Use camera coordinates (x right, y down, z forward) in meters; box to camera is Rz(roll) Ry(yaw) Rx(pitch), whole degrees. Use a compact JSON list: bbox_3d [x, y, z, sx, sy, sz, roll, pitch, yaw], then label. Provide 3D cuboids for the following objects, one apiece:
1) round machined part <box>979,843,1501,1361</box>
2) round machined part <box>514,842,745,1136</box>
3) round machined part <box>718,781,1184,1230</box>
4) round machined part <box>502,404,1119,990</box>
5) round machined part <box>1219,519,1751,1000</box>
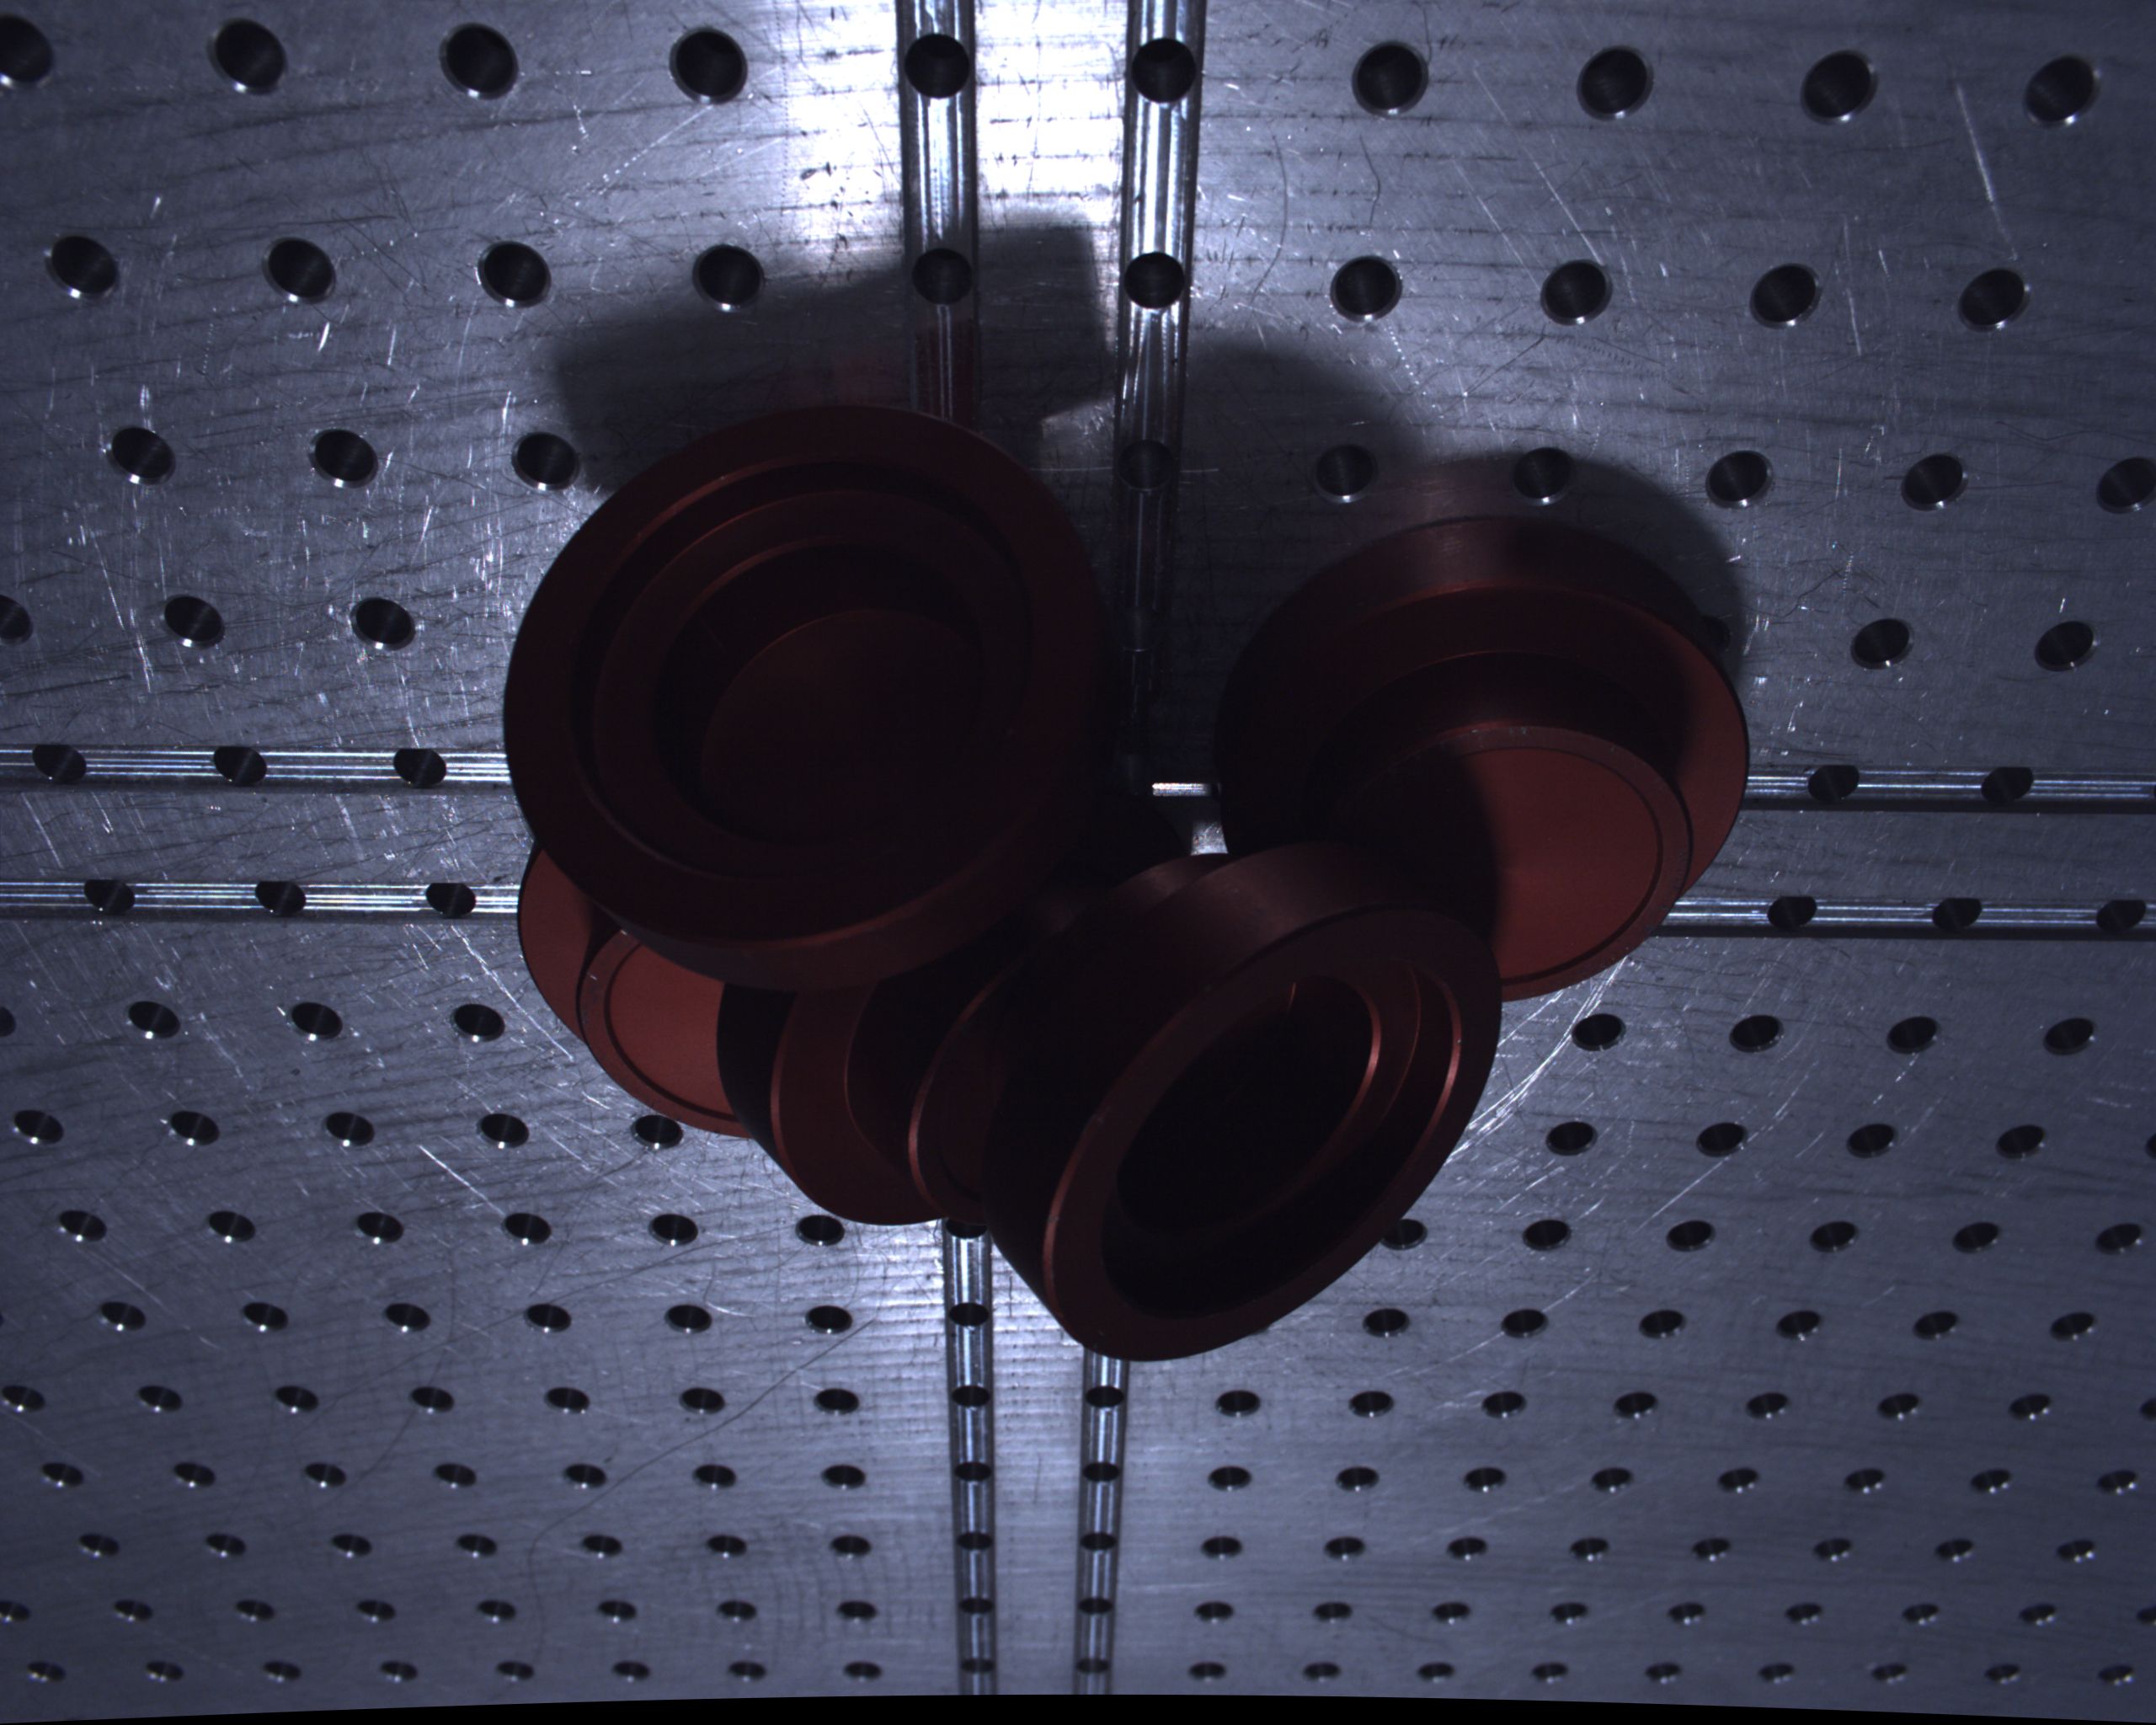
[{"bbox_3d":[0.024,0.037,0.370,0.099,0.042,0.097,-23,134,-25],"label":"round machined part"},{"bbox_3d":[-0.062,0.017,0.414,0.099,0.042,0.097,-1,130,0],"label":"round machined part"},{"bbox_3d":[-0.015,0.030,0.394,0.099,0.042,0.097,-25,133,-29],"label":"round machined part"},{"bbox_3d":[-0.041,-0.024,0.349,0.098,0.098,0.042,-10,155,7],"label":"round machined part"},{"bbox_3d":[0.076,-0.012,0.391,0.099,0.042,0.097,-1,130,0],"label":"round machined part"}]
